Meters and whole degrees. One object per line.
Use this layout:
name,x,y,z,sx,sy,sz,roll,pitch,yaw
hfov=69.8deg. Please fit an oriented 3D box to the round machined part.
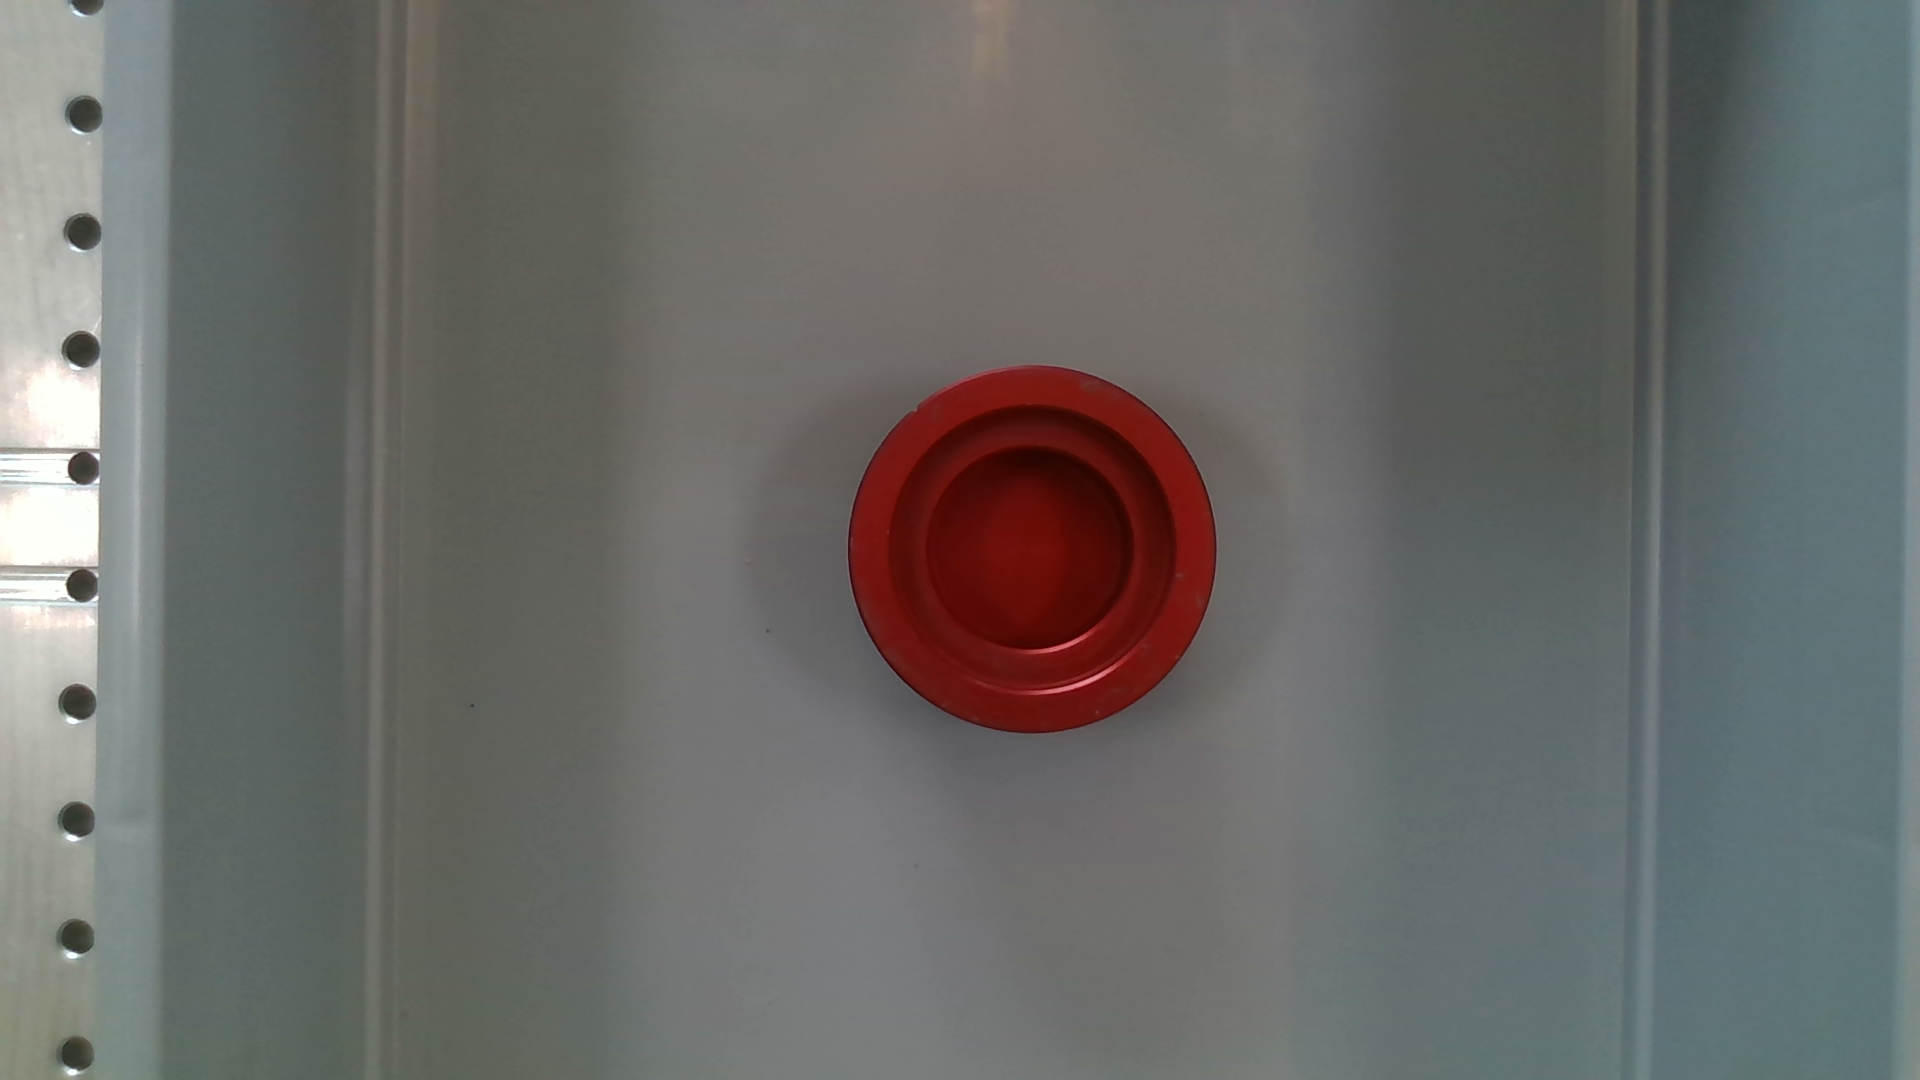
round machined part,0.019,0.002,0.384,0.098,0.042,0.098,0,90,0
